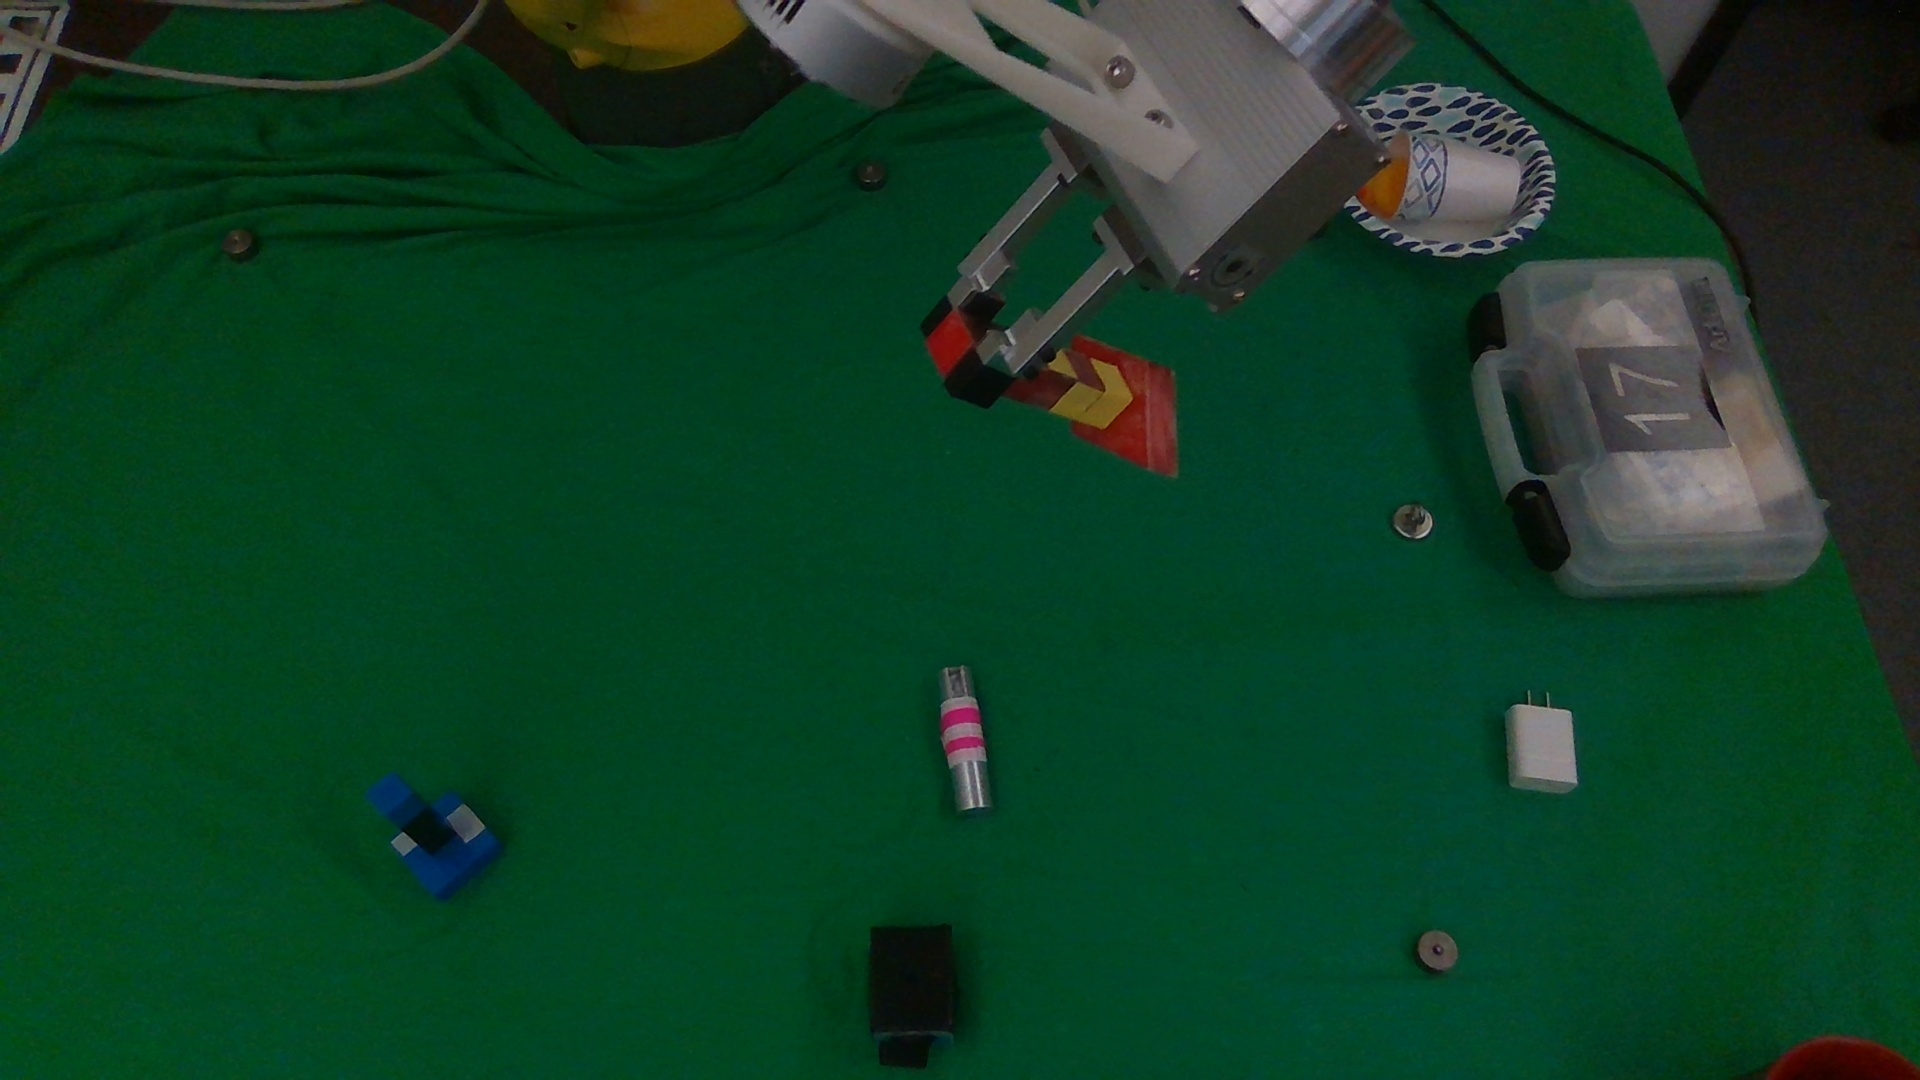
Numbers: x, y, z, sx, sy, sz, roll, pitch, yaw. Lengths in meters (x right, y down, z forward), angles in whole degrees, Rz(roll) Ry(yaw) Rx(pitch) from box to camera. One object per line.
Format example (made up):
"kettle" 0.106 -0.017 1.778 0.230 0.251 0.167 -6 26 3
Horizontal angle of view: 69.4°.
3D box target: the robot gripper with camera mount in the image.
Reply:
"robot gripper with camera mount" -0.001 -0.115 0.465 0.192 0.159 0.119 2 49 -47

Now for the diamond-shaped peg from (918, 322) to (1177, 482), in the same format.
"diamond-shaped peg" 0.036 -0.066 0.587 0.074 0.121 0.045 32 107 46
